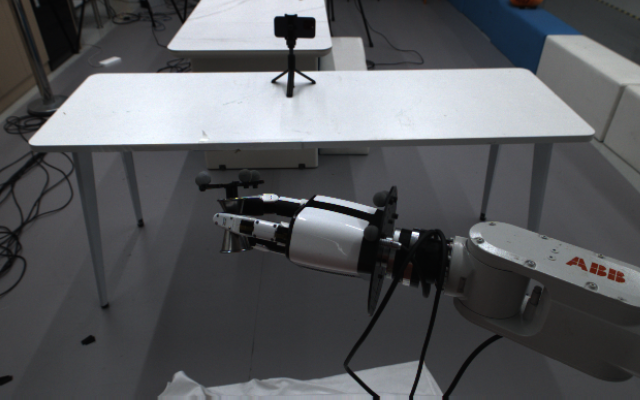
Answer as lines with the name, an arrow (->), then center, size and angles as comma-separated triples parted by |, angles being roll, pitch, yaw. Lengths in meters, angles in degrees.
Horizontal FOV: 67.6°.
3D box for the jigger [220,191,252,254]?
jigger -> -0.110, 0.031, 0.624 | 0.043, 0.071, 0.043 | -4, 1, 0
